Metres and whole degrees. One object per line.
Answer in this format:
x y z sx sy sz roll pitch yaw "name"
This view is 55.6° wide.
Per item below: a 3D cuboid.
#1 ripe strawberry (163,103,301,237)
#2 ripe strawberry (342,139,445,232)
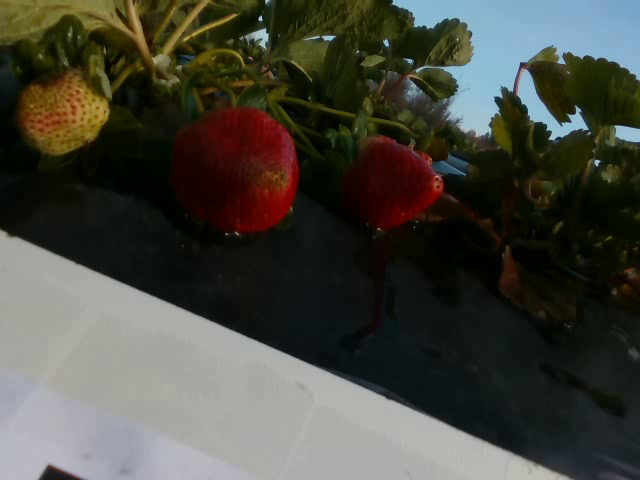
-0.026 -0.027 0.207 0.050 0.050 0.065 -12 9 -19 "ripe strawberry"
0.033 -0.023 0.268 0.044 0.042 0.055 -36 24 -28 "ripe strawberry"
